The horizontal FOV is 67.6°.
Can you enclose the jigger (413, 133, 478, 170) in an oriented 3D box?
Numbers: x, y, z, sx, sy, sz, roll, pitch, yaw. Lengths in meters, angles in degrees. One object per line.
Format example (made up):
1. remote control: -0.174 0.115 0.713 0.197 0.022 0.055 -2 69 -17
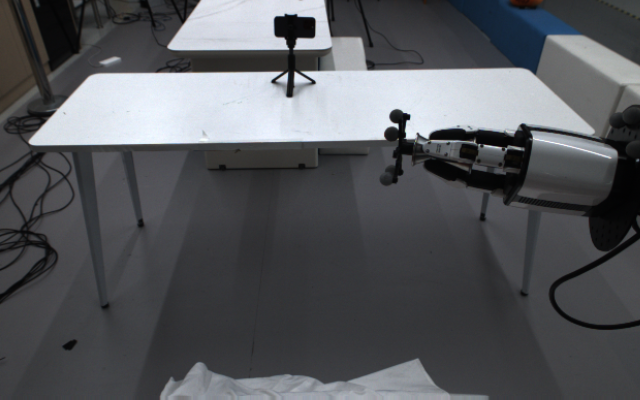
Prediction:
1. jigger: 0.152 -0.059 0.571 0.071 0.043 0.043 8 35 15
